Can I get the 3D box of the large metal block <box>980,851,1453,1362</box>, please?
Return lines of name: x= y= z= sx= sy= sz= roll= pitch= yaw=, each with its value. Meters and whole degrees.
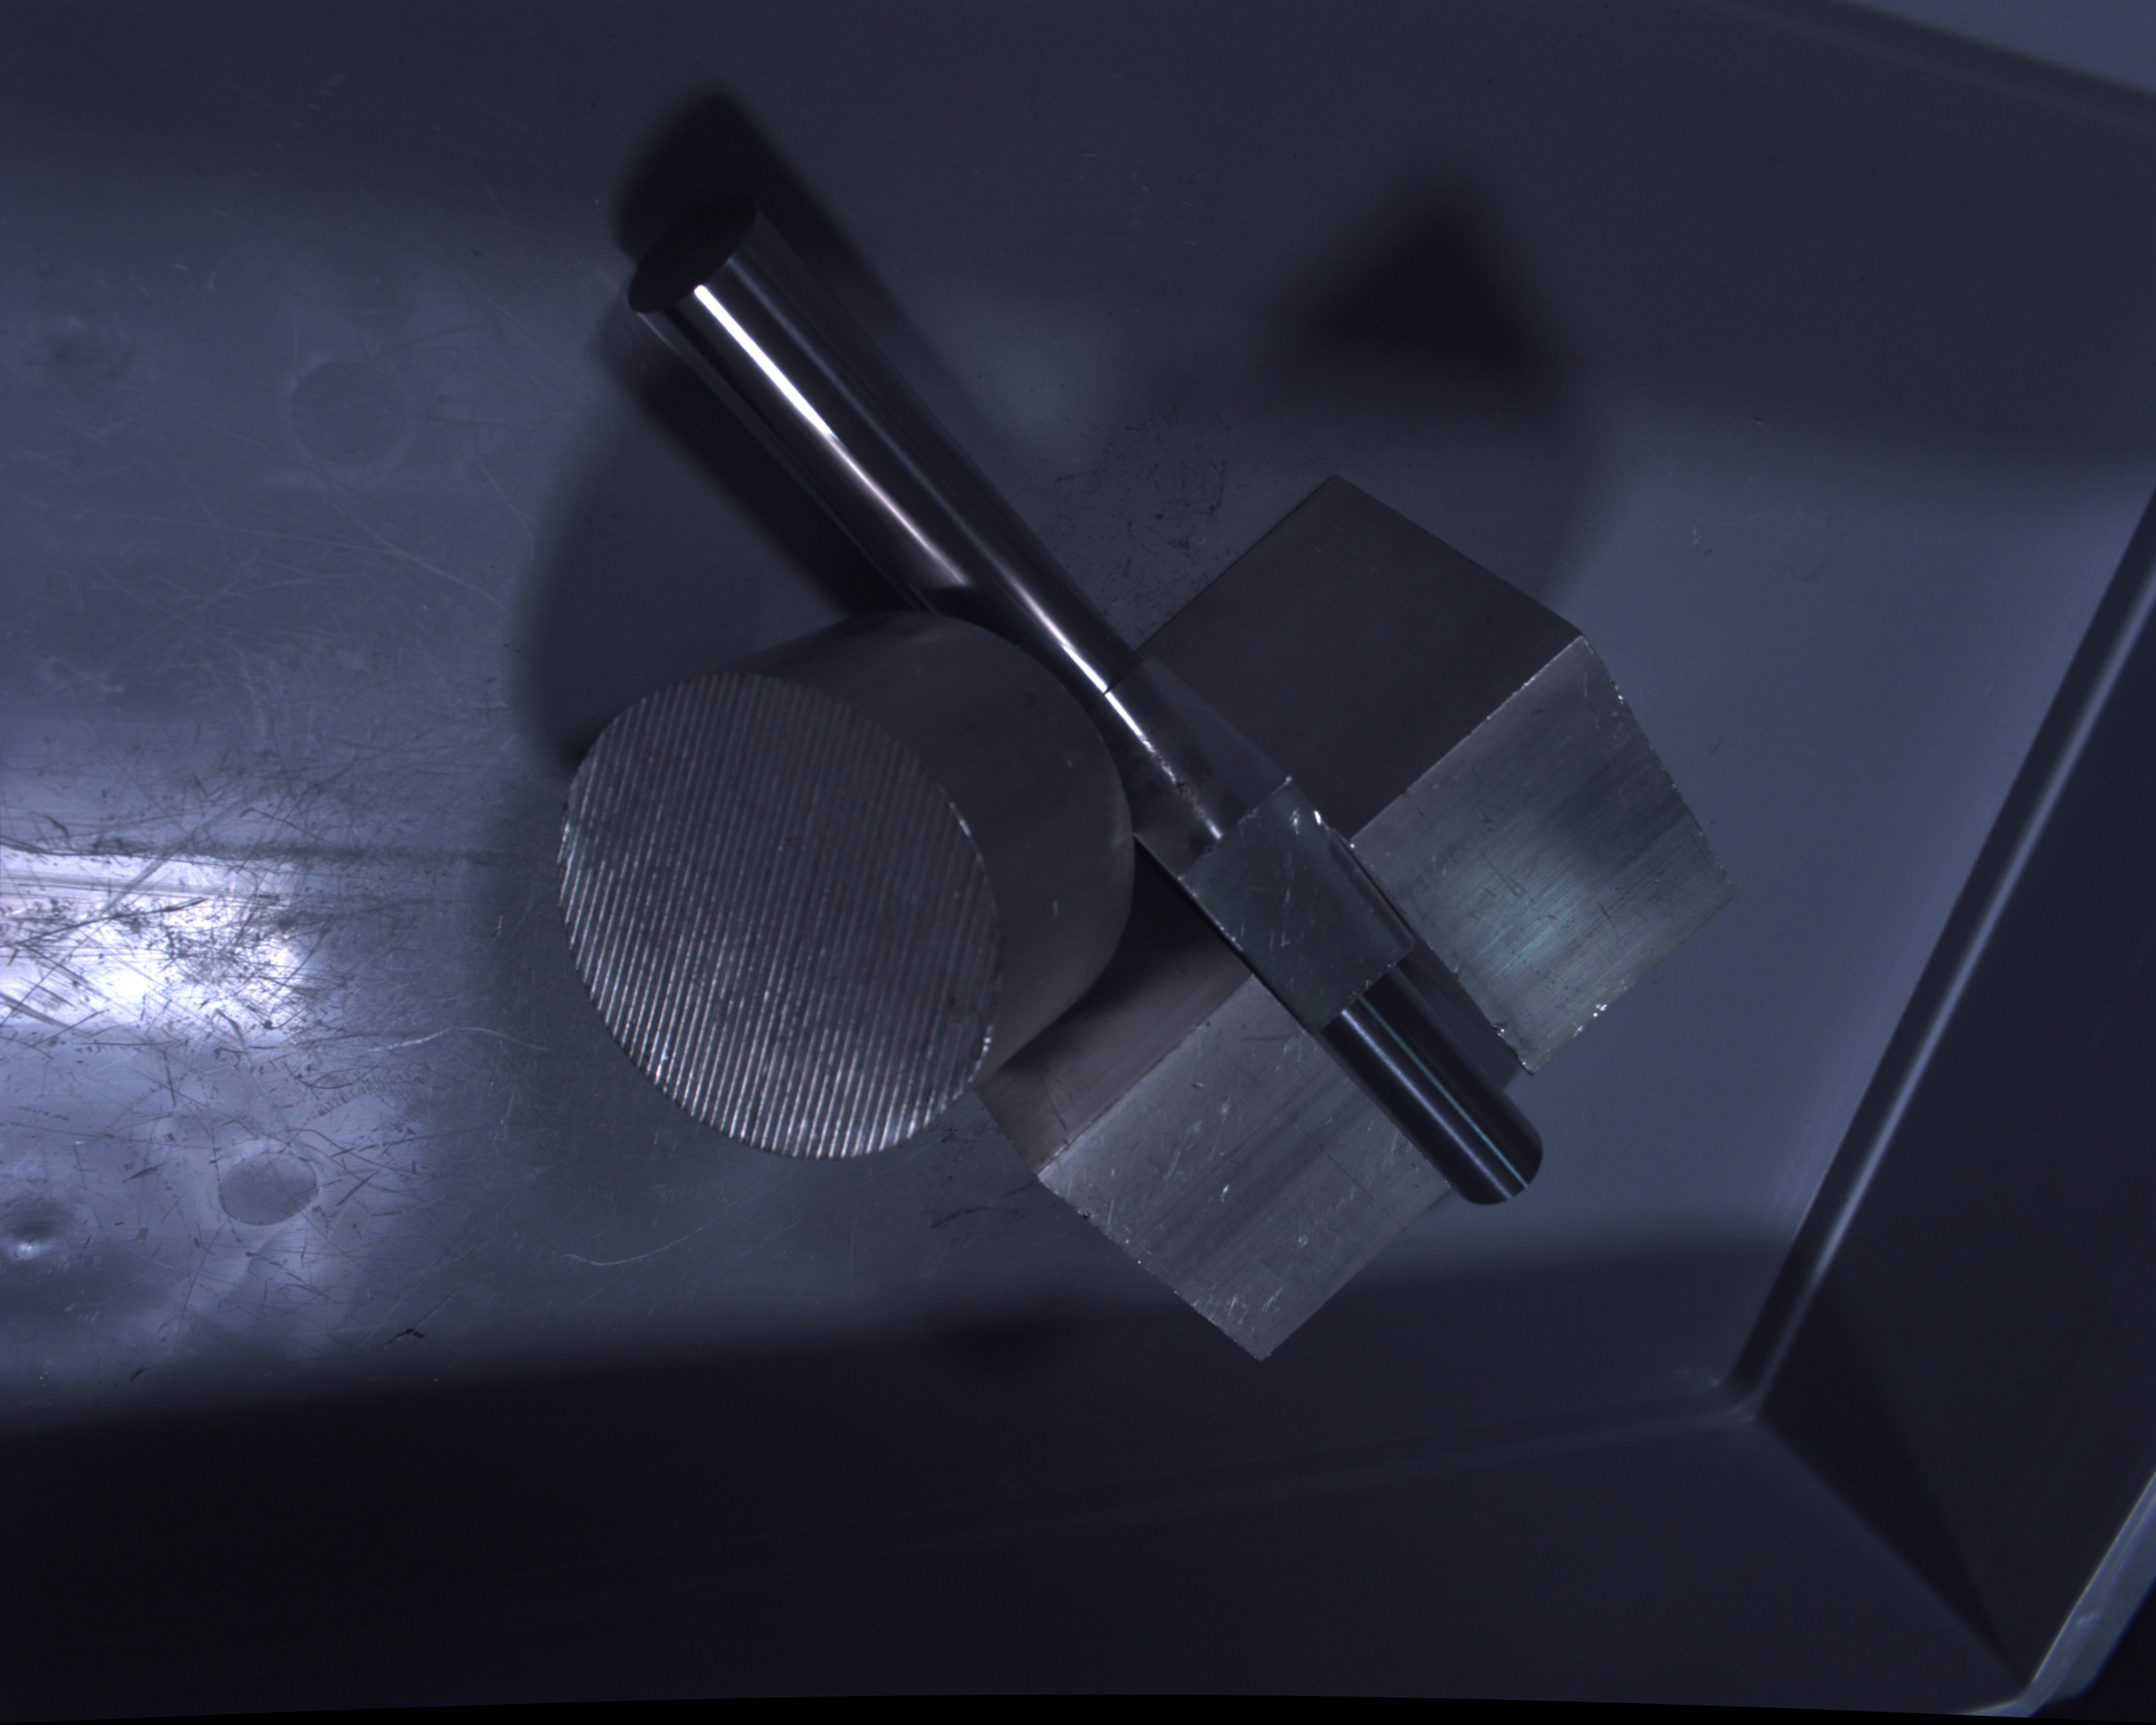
large metal block: x=0.015 y=0.038 z=0.406 sx=0.050 sy=0.080 sz=0.080 roll=-43 pitch=130 yaw=1

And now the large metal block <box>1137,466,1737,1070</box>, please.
large metal block: x=0.068 y=-0.019 z=0.400 sx=0.050 sy=0.080 sz=0.080 roll=-42 pitch=130 yaw=1

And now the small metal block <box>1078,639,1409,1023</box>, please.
small metal block: x=0.026 y=-0.006 z=0.373 sx=0.025 sy=0.050 sz=0.050 roll=-42 pitch=130 yaw=0

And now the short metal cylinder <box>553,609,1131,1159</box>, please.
short metal cylinder: x=-0.038 y=0.002 z=0.345 sx=0.050 sy=0.080 sz=0.079 roll=-36 pitch=145 yaw=-60

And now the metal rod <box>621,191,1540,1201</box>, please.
metal rod: x=0.021 y=-0.011 z=0.414 sx=0.025 sy=0.025 sz=0.300 roll=-43 pitch=130 yaw=1
